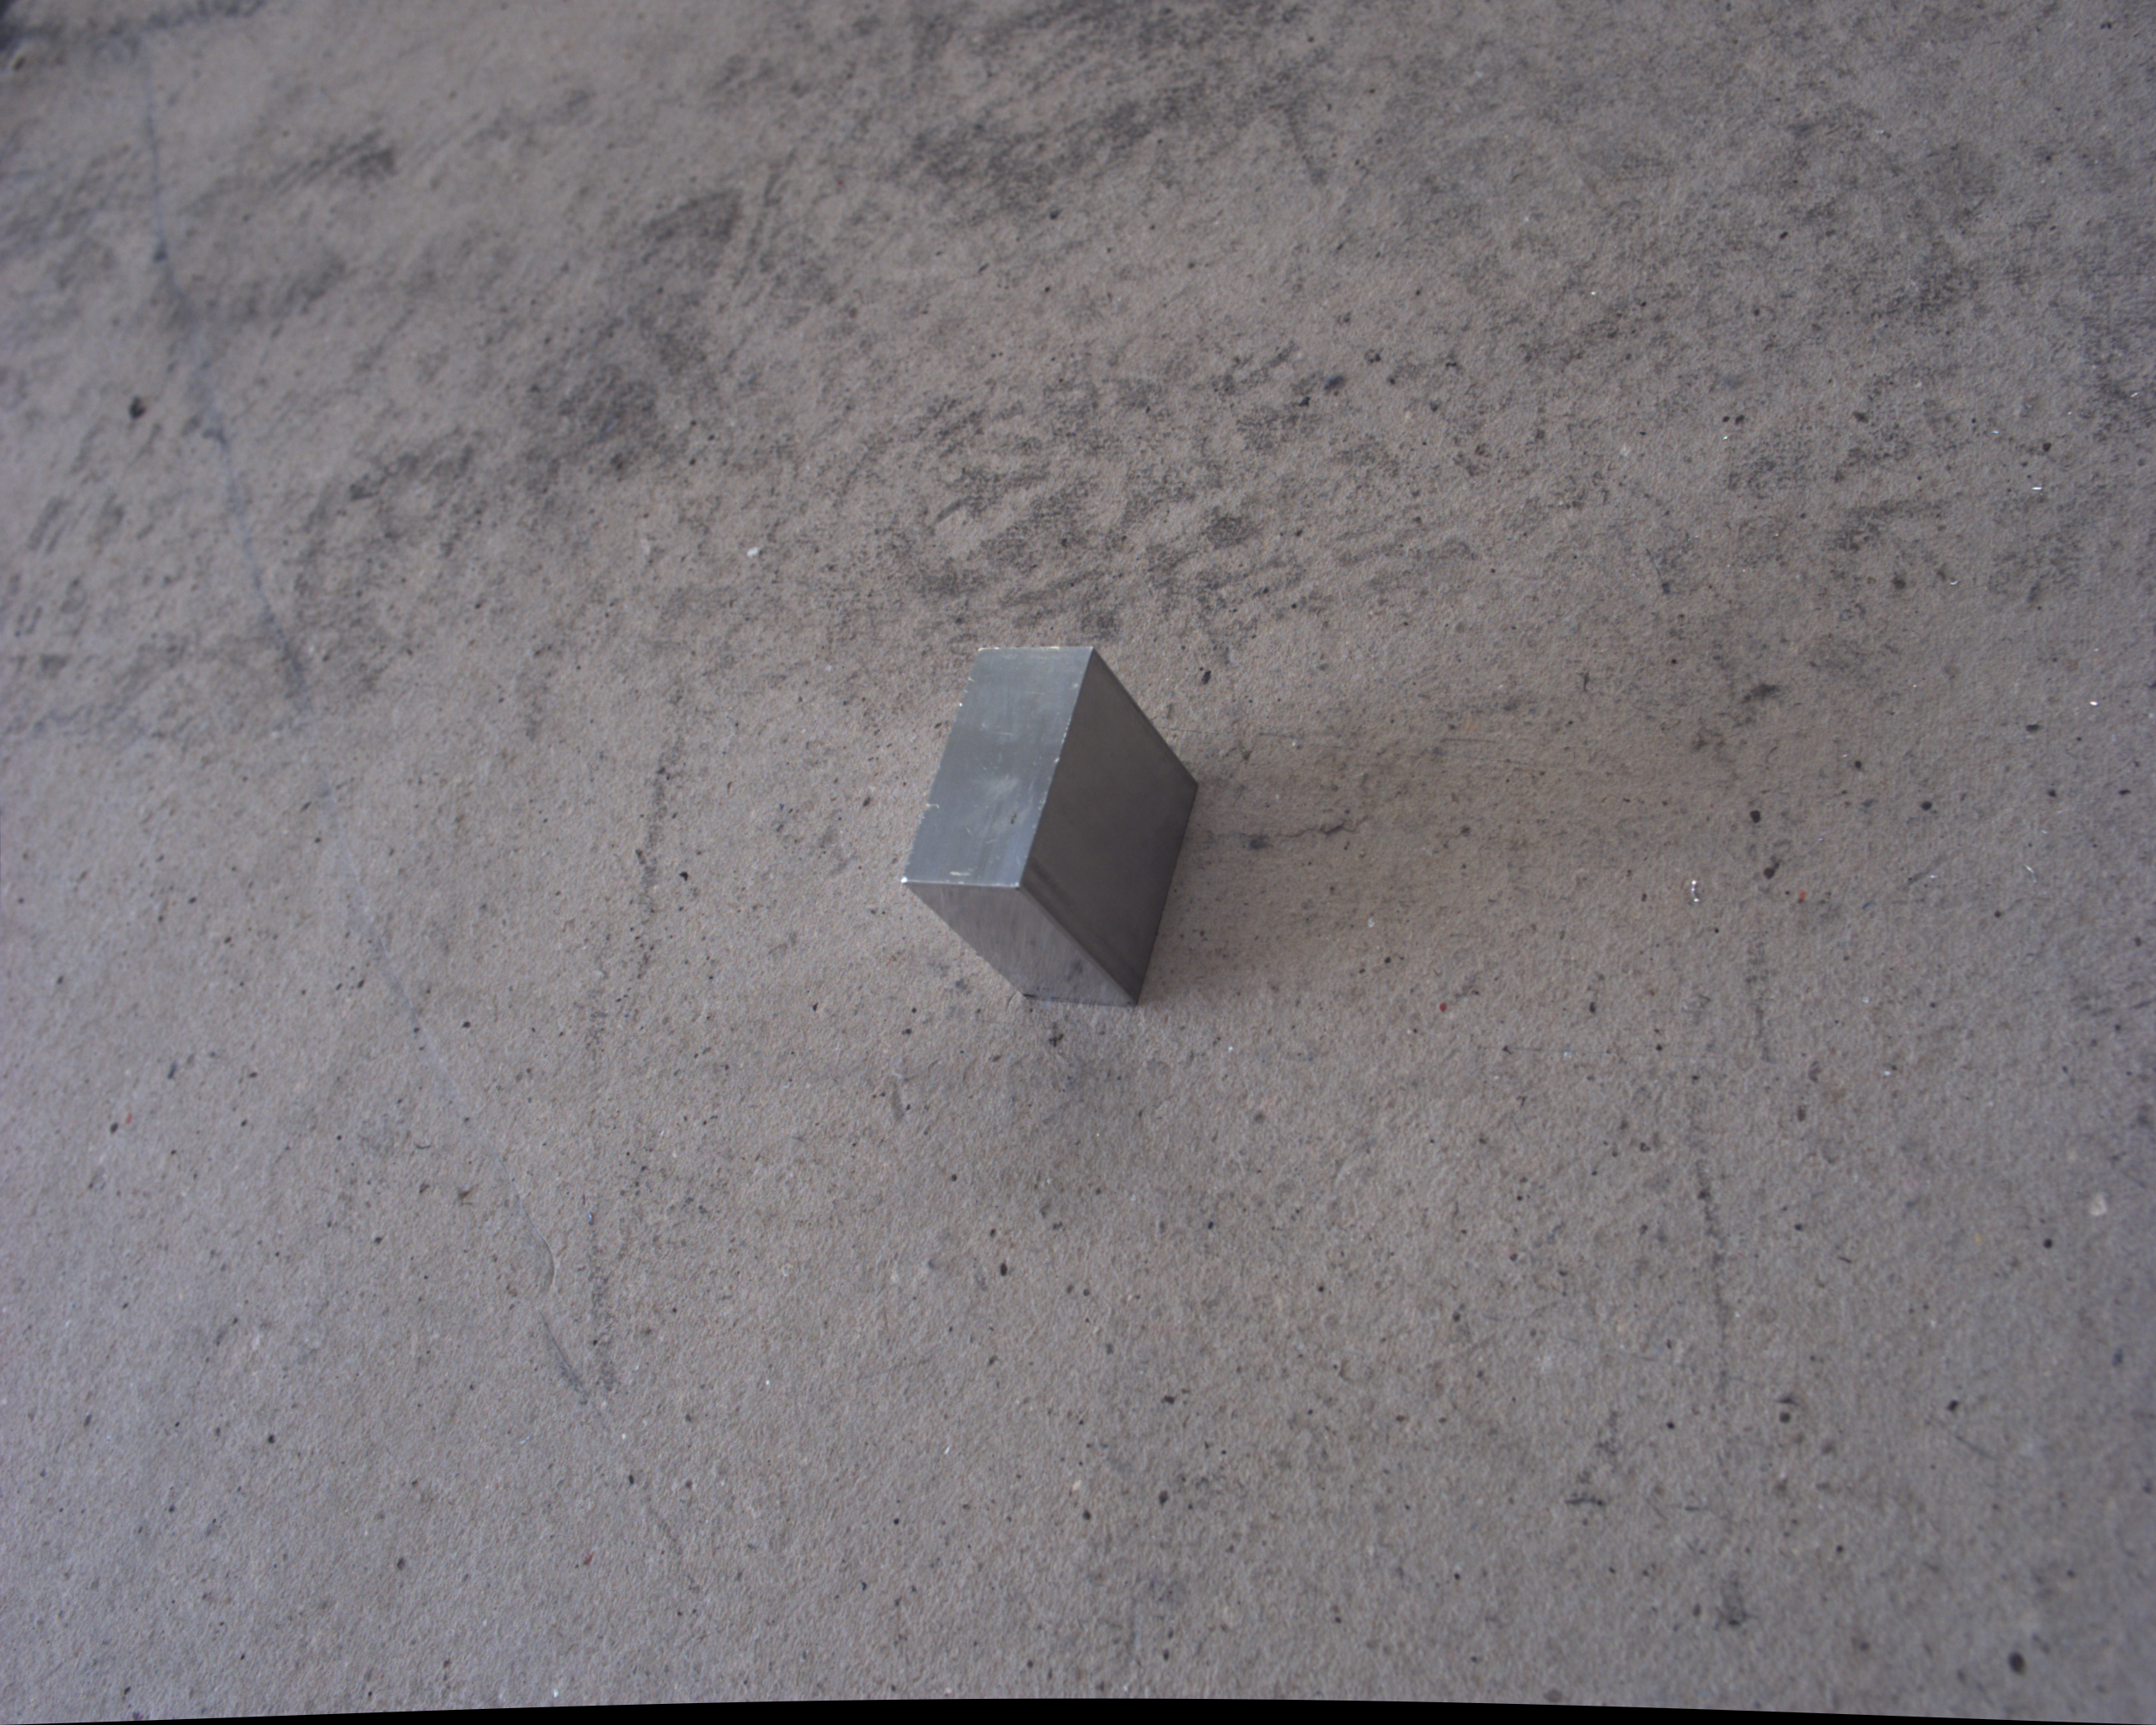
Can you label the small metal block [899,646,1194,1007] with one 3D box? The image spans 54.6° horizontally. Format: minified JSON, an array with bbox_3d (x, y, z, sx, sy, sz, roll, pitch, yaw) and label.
[{"bbox_3d":[-0.004,-0.006,0.396,0.025,0.050,0.050,3,63,29],"label":"small metal block"}]
